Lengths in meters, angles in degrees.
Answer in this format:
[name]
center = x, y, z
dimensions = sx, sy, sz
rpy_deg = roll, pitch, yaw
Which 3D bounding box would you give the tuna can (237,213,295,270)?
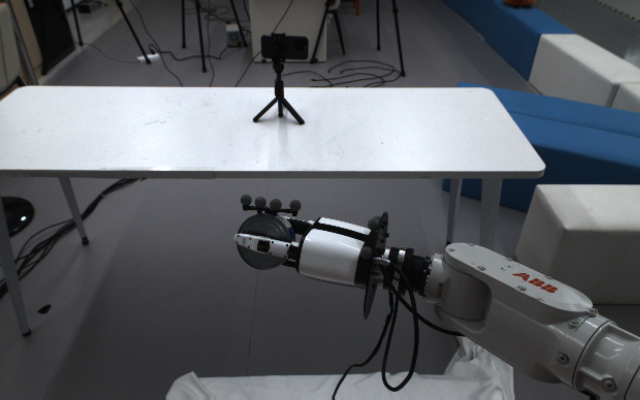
[tuna can]
center = -0.081, 0.062, 0.739
dimensions = 0.085, 0.085, 0.034
rpy_deg = 11, 3, 13
